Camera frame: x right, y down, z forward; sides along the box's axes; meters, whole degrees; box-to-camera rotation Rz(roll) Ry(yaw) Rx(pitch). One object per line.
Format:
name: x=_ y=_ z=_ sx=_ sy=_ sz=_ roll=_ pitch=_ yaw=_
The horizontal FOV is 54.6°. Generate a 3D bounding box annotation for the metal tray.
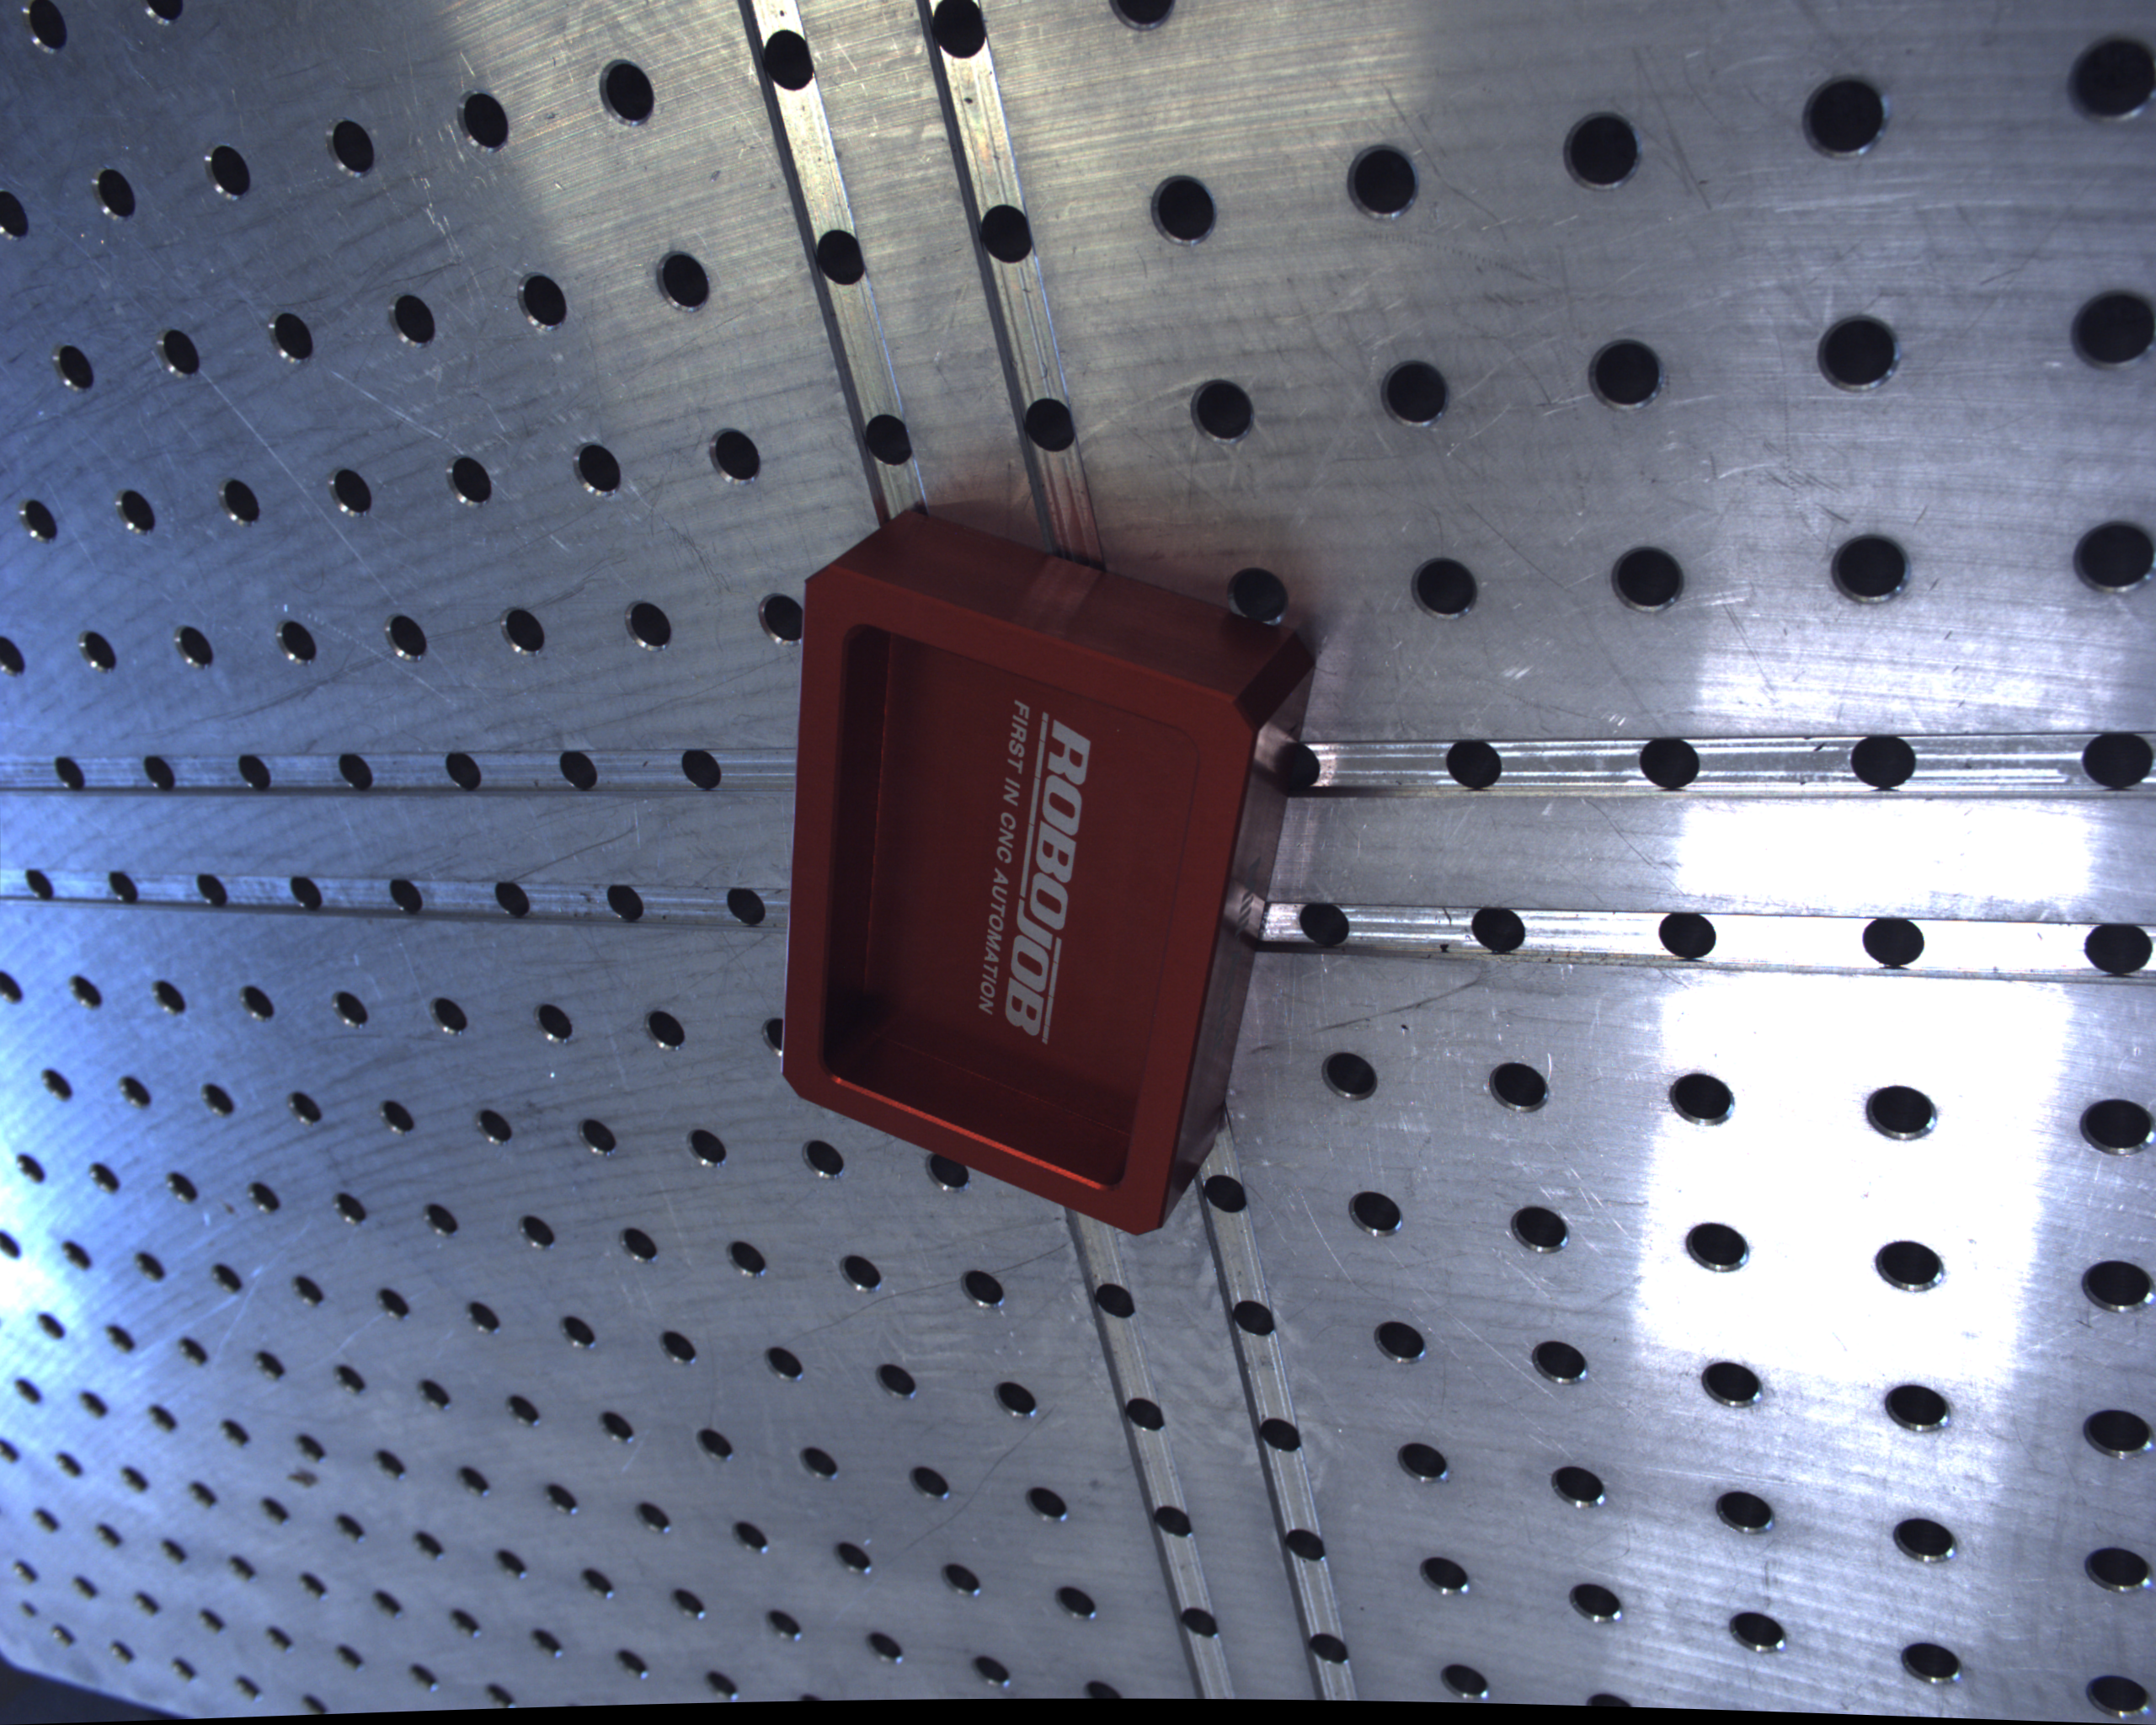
metal tray: x=-0.010 y=0.005 z=0.417 sx=0.090 sy=0.030 sz=0.129 roll=19 pitch=126 yaw=16
